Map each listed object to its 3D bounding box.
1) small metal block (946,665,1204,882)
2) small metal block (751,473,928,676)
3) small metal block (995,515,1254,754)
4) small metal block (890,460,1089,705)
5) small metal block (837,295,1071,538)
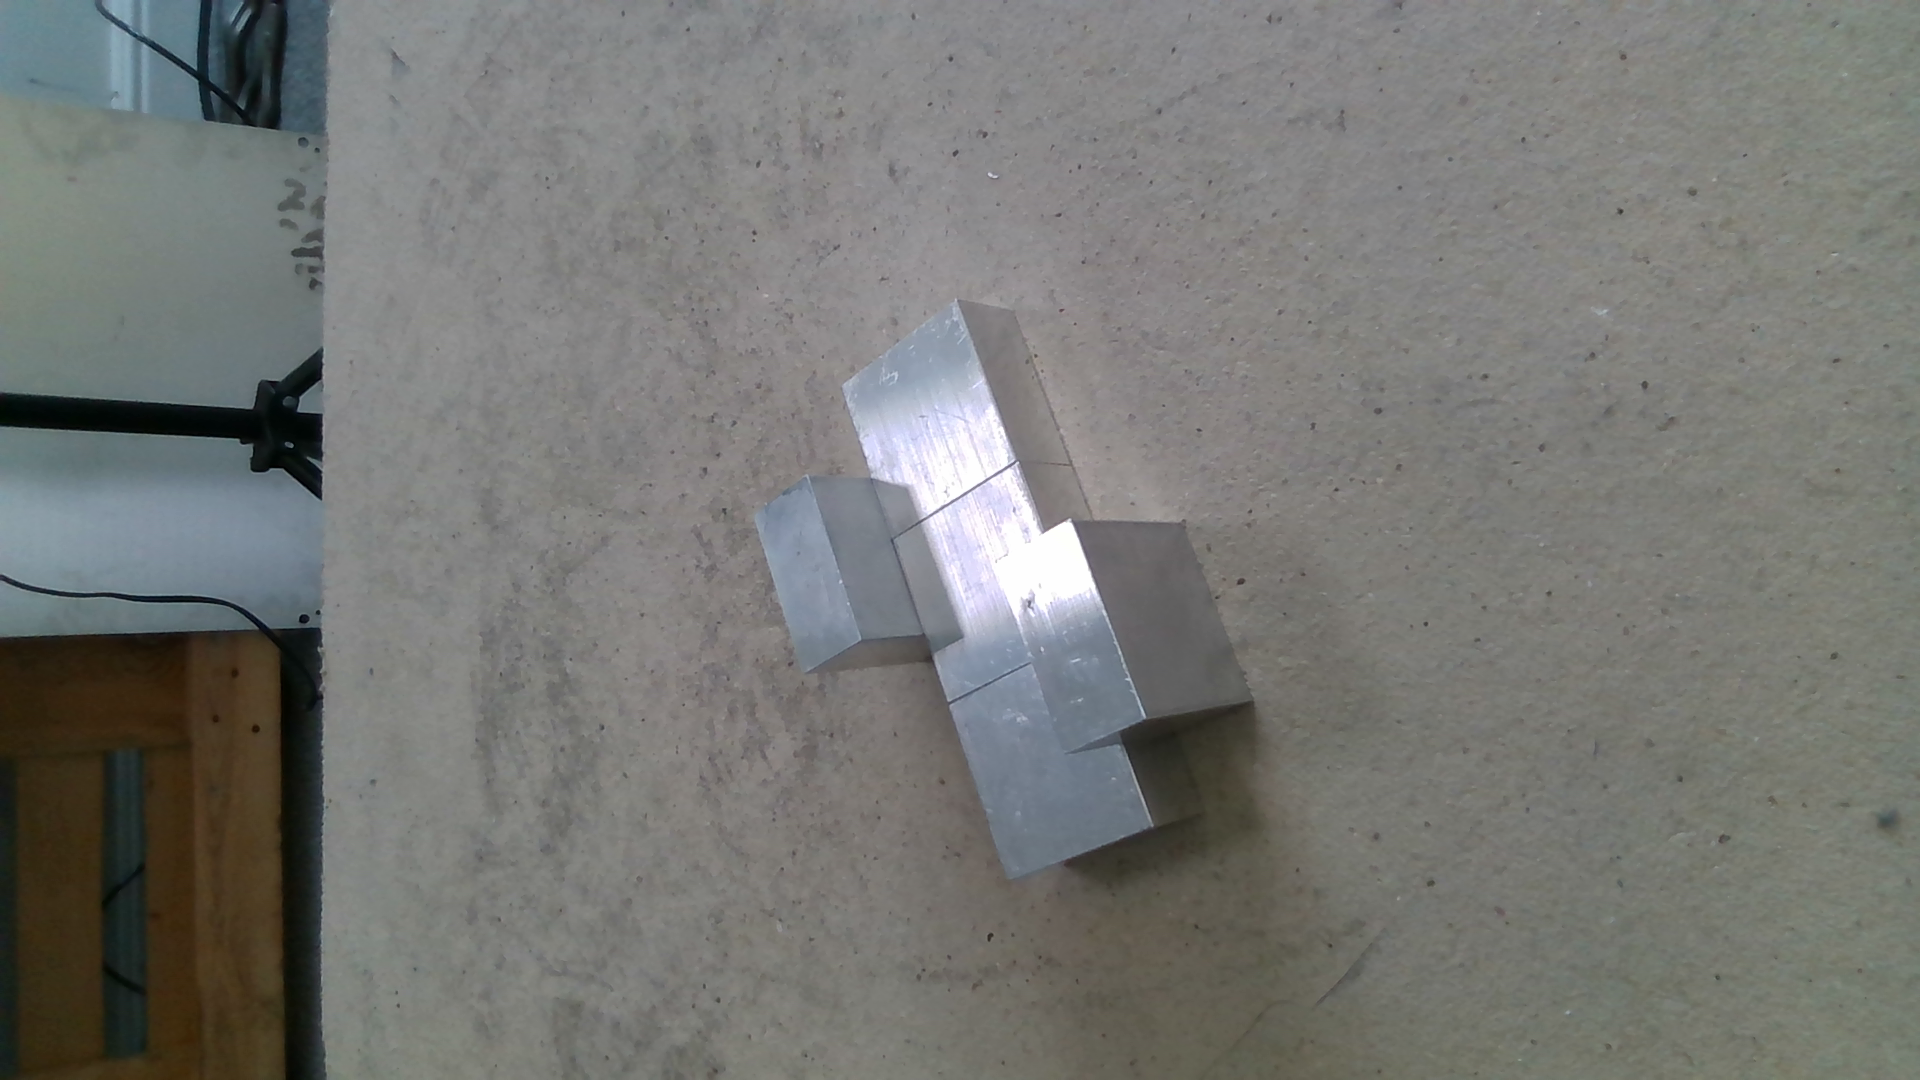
[{"bbox_3d":[0.030,0.057,0.366,0.050,0.025,0.050,-31,71,36],"label":"small metal block"},{"bbox_3d":[-0.027,0.010,0.398,0.025,0.050,0.050,-31,70,35],"label":"small metal block"},{"bbox_3d":[0.041,0.022,0.340,0.025,0.050,0.050,-31,70,36],"label":"small metal block"},{"bbox_3d":[0.013,0.012,0.379,0.050,0.025,0.050,-31,71,36],"label":"small metal block"},{"bbox_3d":[-0.003,-0.034,0.392,0.050,0.025,0.050,-31,71,36],"label":"small metal block"}]
